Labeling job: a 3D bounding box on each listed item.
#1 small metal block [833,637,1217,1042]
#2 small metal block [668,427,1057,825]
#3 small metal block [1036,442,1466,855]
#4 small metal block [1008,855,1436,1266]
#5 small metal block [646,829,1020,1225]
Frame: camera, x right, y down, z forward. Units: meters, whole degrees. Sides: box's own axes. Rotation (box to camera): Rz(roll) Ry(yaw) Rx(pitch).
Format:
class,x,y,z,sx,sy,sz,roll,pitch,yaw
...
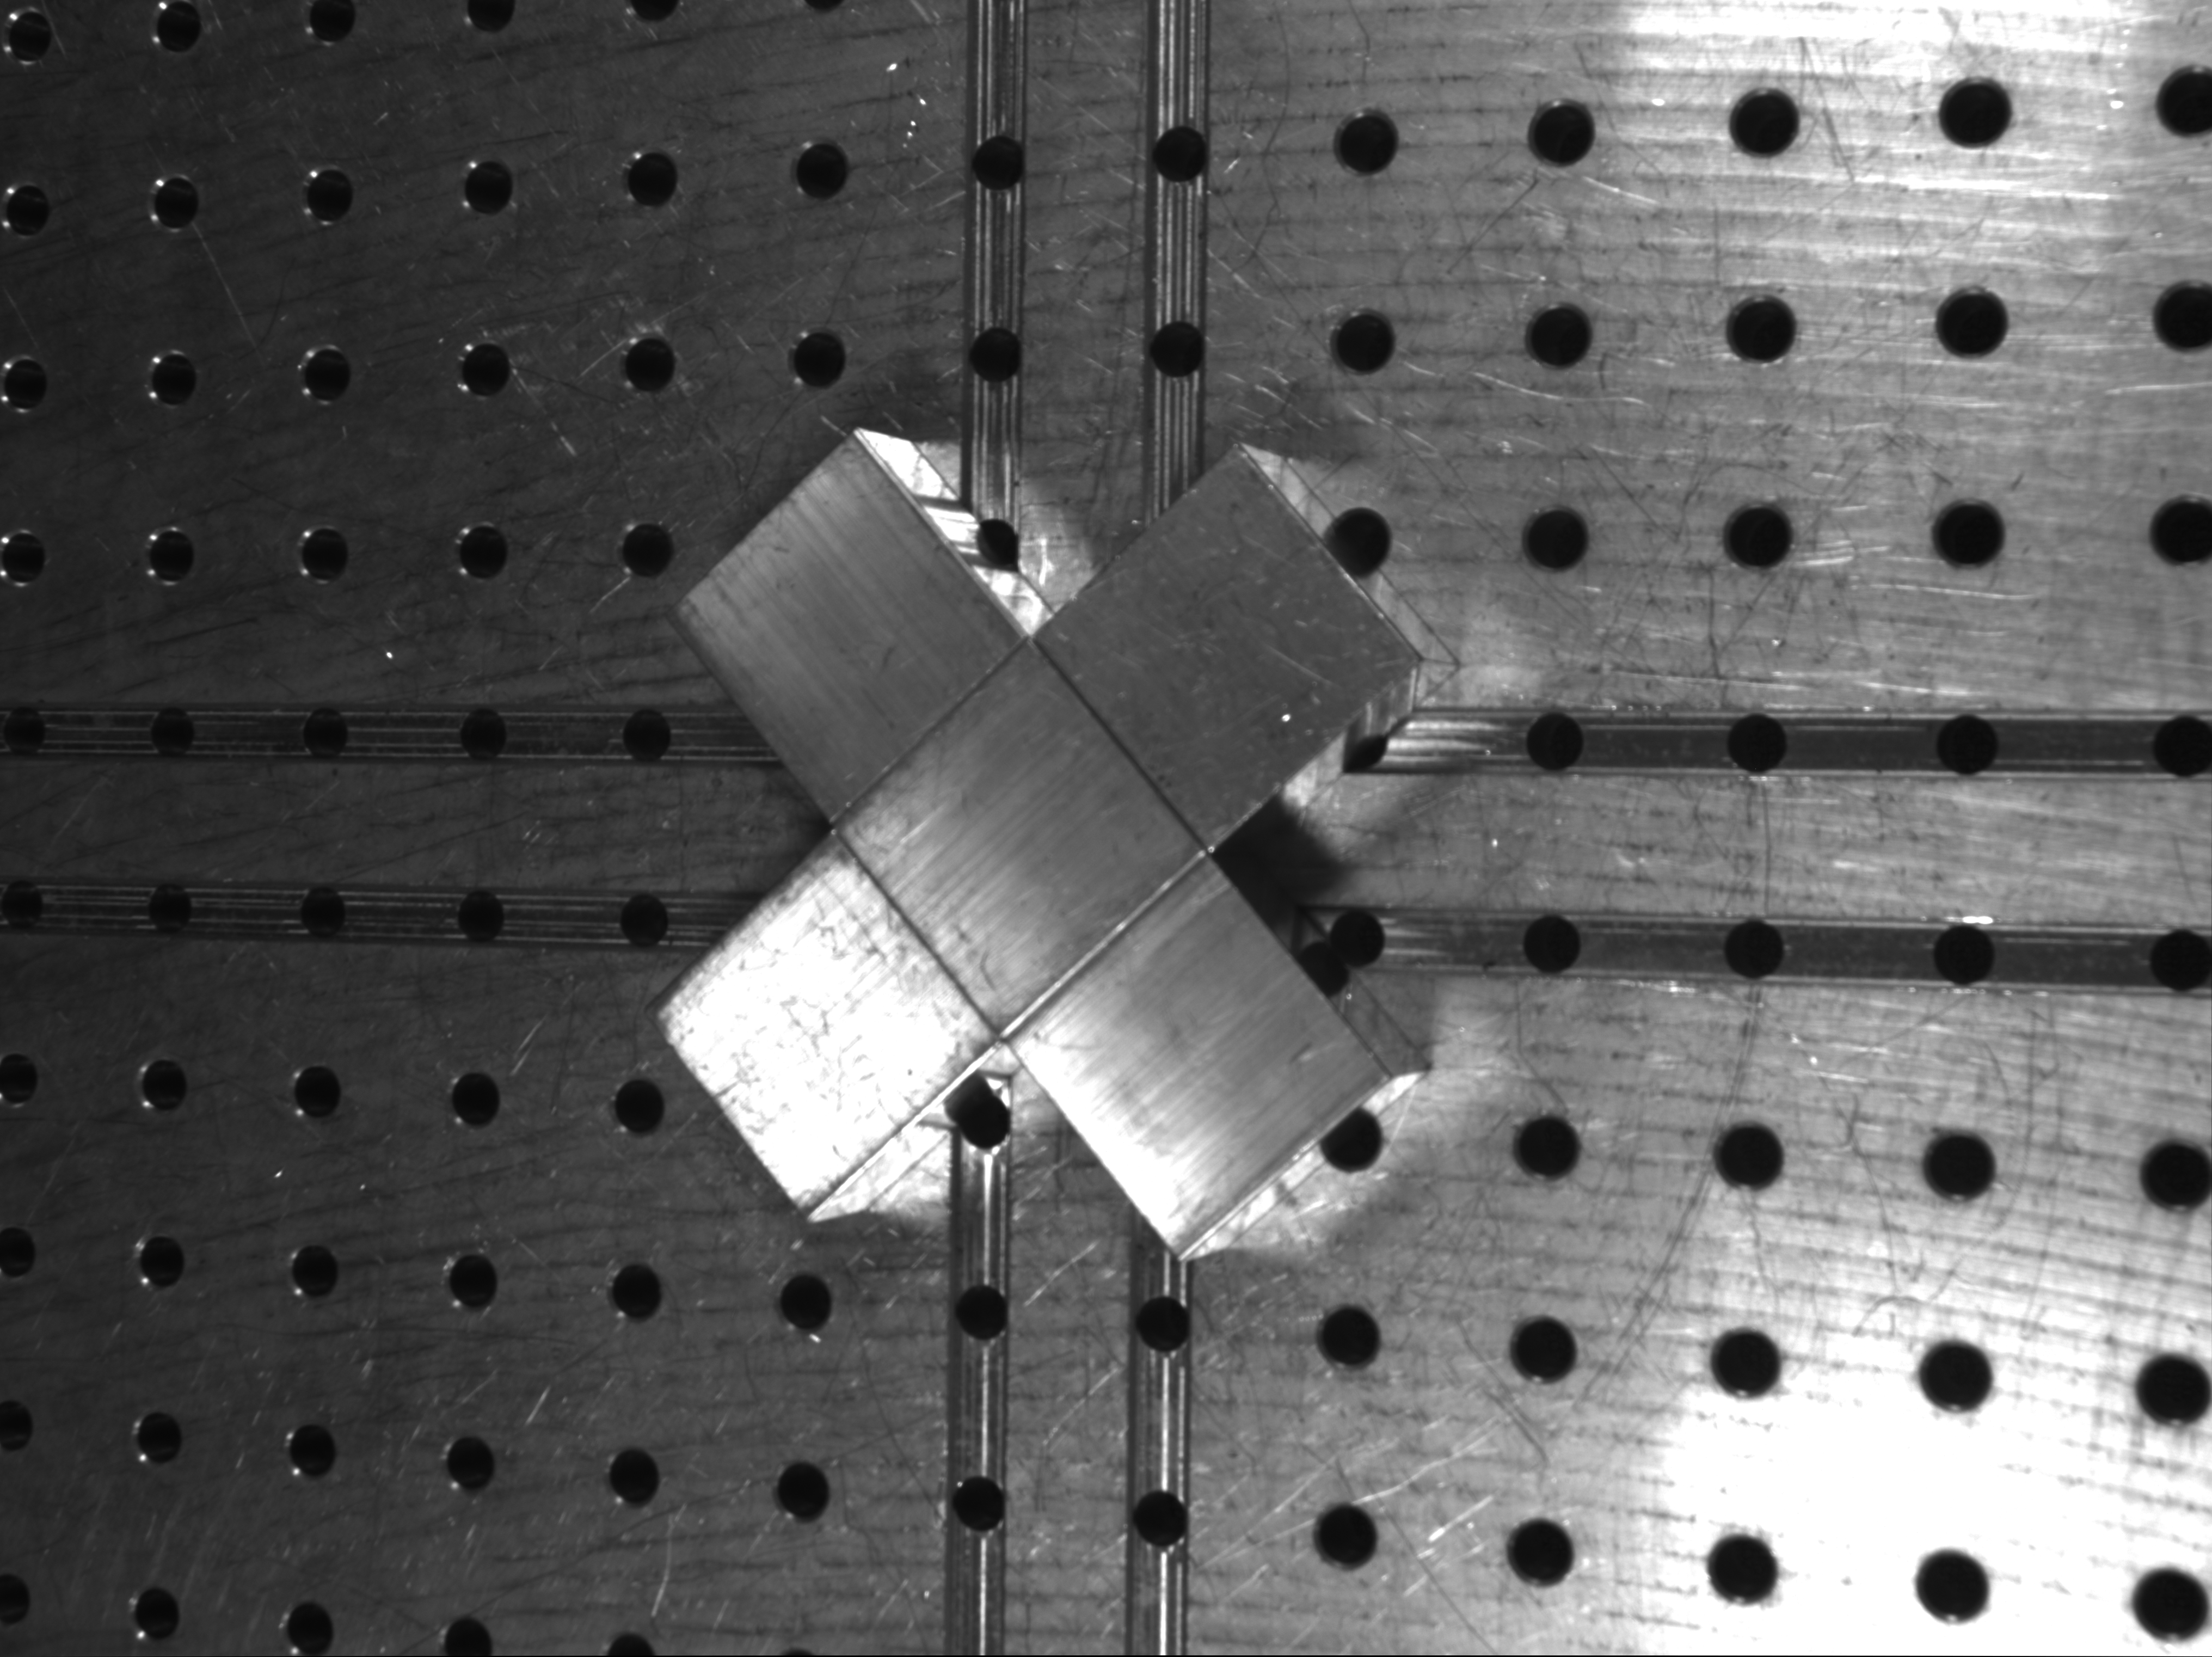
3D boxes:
class,x,y,z,sx,sy,sz,roll,pitch,yaw
small metal block,-0.011,0.002,0.650,0.050,0.025,0.050,-43,77,15
small metal block,-0.042,-0.036,0.662,0.050,0.025,0.050,-43,77,15
small metal block,0.025,-0.031,0.637,0.050,0.025,0.050,-43,77,15
small metal block,0.020,0.040,0.639,0.050,0.025,0.050,-43,77,15
small metal block,-0.046,0.035,0.663,0.050,0.025,0.050,-43,77,15
